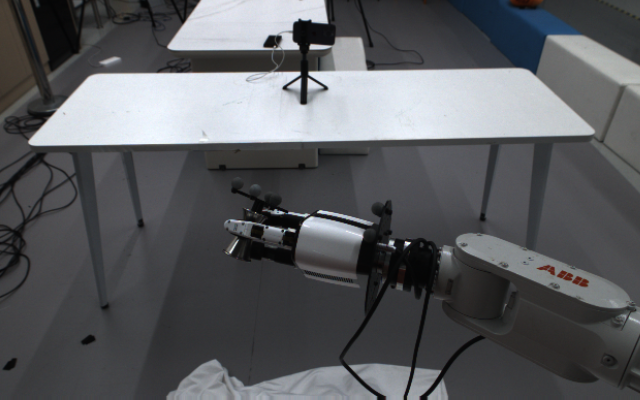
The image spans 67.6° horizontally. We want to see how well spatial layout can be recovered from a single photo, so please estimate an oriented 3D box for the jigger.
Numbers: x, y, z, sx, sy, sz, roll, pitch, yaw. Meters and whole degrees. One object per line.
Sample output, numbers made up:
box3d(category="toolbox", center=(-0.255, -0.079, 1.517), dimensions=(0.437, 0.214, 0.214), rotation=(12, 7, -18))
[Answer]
box3d(category="jigger", center=(-0.105, 0.046, 0.680), dimensions=(0.043, 0.071, 0.043), rotation=(24, -2, 1))
